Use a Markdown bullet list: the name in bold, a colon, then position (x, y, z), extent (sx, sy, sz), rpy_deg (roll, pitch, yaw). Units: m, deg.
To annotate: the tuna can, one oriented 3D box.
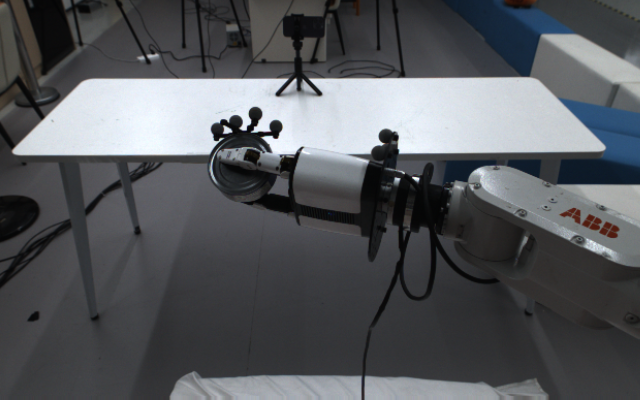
- **tuna can**: position (-0.095, -0.041, 0.624), extent (0.085, 0.034, 0.085), rpy_deg (-3, 69, 7)
